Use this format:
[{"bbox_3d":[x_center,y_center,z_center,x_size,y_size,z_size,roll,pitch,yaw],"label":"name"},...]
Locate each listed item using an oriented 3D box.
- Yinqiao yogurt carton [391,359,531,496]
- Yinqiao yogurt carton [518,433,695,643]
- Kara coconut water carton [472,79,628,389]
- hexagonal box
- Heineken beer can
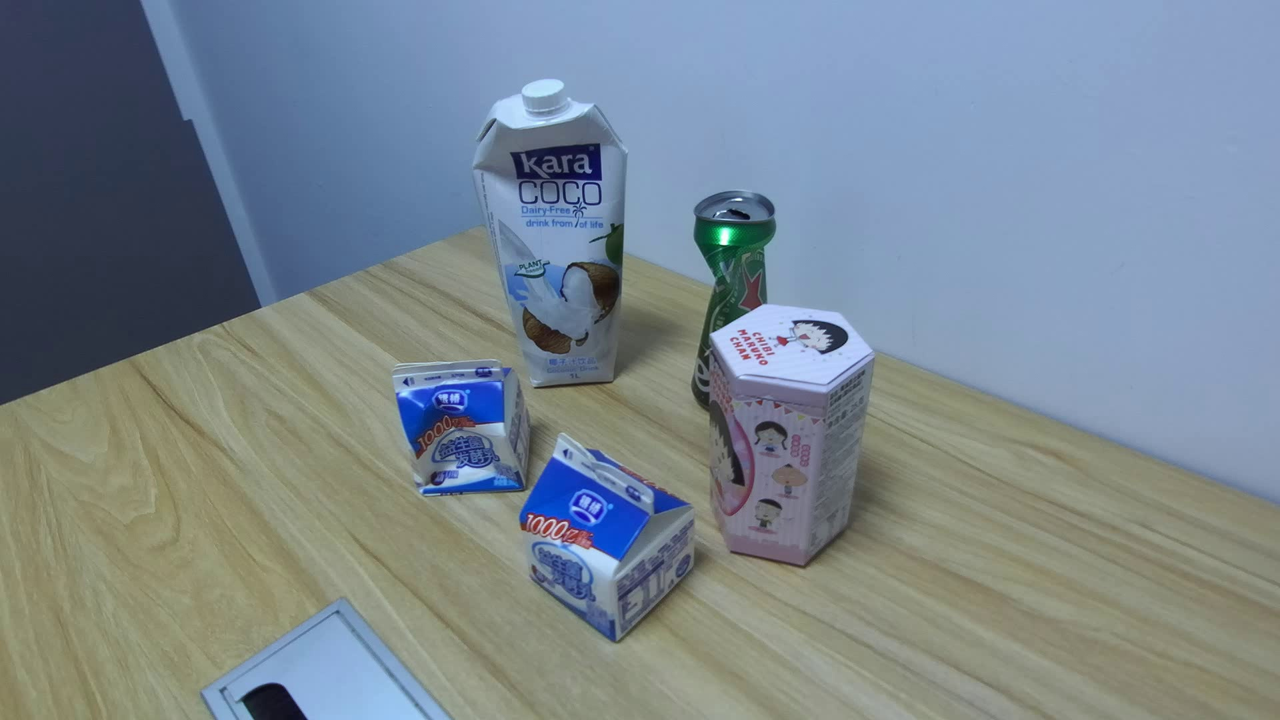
[{"bbox_3d":[-0.122,0.037,0.490,0.077,0.094,0.071,-4,38,0],"label":"Yinqiao yogurt carton"},{"bbox_3d":[-0.018,0.091,0.402,0.075,0.092,0.074,25,42,34],"label":"Yinqiao yogurt carton"},{"bbox_3d":[-0.063,-0.091,0.544,0.115,0.239,0.069,-3,36,-2],"label":"Kara coconut water carton"},{"bbox_3d":[0.085,0.046,0.421,0.084,0.136,0.091,-9,34,-9],"label":"hexagonal box"},{"bbox_3d":[0.071,-0.040,0.527,0.078,0.164,0.065,-26,40,-25],"label":"Heineken beer can"}]
